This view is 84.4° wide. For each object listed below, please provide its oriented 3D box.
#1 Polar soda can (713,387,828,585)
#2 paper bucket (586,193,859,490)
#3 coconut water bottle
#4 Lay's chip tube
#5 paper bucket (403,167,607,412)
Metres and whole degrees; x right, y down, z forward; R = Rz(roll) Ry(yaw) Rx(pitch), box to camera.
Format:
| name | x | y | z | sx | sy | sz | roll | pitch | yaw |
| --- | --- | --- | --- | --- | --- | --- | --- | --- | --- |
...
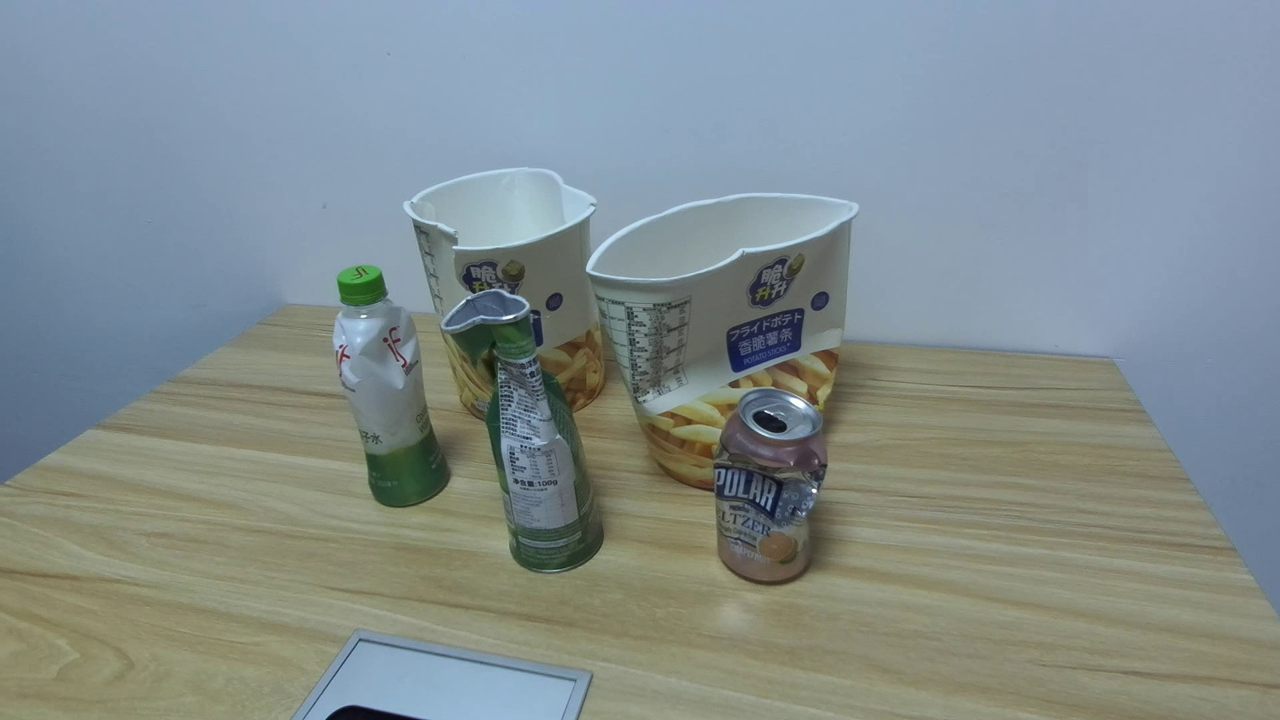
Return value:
| name | x | y | z | sx | sy | sz | roll | pitch | yaw |
| --- | --- | --- | --- | --- | --- | --- | --- | --- | --- |
| Polar soda can | 0.091 | 0.085 | 0.470 | 0.070 | 0.122 | 0.067 | 23 | 34 | 37 |
| paper bucket | 0.076 | -0.017 | 0.564 | 0.147 | 0.199 | 0.218 | 12 | 34 | 25 |
| coconut water bottle | -0.195 | 0.021 | 0.544 | 0.067 | 0.187 | 0.067 | -2 | 28 | 1 |
| Lay's chip tube | -0.077 | 0.049 | 0.478 | 0.071 | 0.200 | 0.079 | -8 | 27 | 8 |
| paper bucket | -0.113 | -0.058 | 0.662 | 0.146 | 0.197 | 0.201 | -22 | 34 | -26 |
